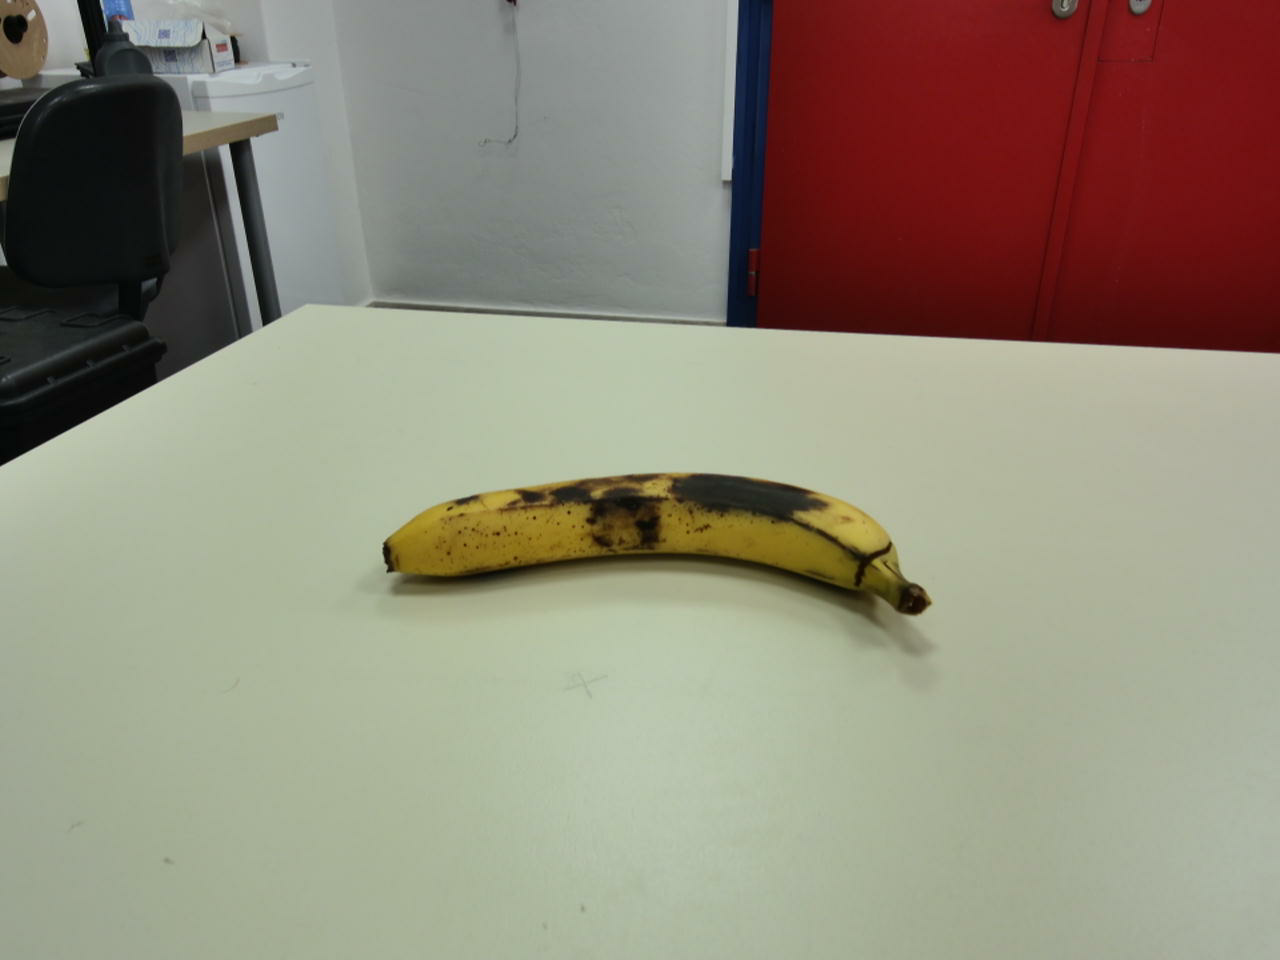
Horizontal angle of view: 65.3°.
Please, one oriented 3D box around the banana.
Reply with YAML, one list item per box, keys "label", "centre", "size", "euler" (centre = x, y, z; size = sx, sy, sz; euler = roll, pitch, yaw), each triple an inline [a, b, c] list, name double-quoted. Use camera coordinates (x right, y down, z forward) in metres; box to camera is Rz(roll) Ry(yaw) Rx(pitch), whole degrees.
- label: "banana"
  centre: [0.008, 0.023, 0.427]
  size: [0.222, 0.037, 0.084]
  euler: [5, 24, 12]
